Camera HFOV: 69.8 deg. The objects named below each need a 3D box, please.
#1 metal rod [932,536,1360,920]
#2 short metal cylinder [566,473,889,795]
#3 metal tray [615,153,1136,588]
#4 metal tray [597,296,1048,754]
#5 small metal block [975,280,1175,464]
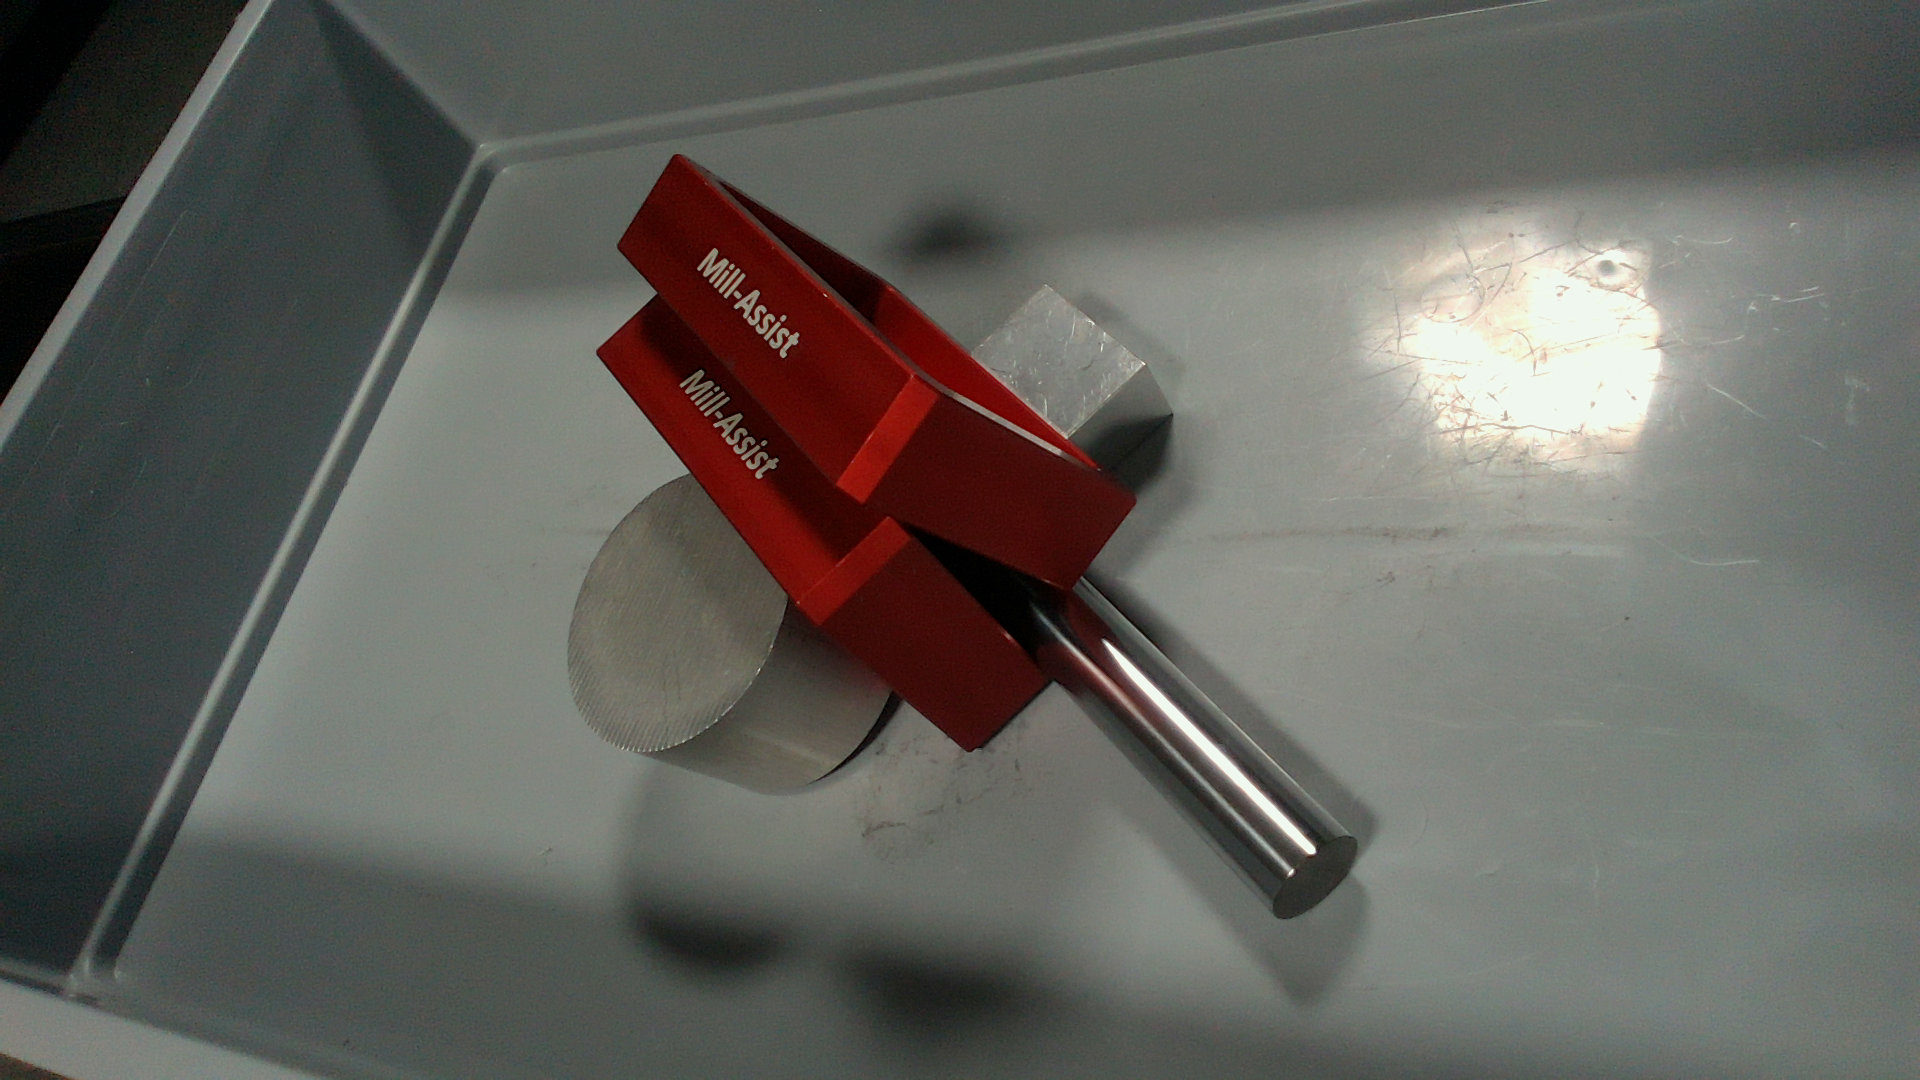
[{"bbox_3d":[-0.001,-0.008,0.400,0.025,0.025,0.299,-43,51,-1],"label":"metal rod"},{"bbox_3d":[-0.063,0.027,0.387,0.080,0.050,0.080,-15,61,29],"label":"short metal cylinder"},{"bbox_3d":[-0.024,-0.045,0.358,0.030,0.090,0.130,-54,50,12],"label":"metal tray"},{"bbox_3d":[-0.039,-0.008,0.376,0.030,0.090,0.130,-43,51,-1],"label":"metal tray"},{"bbox_3d":[0.025,-0.041,0.404,0.050,0.025,0.050,-42,51,-1],"label":"small metal block"}]
